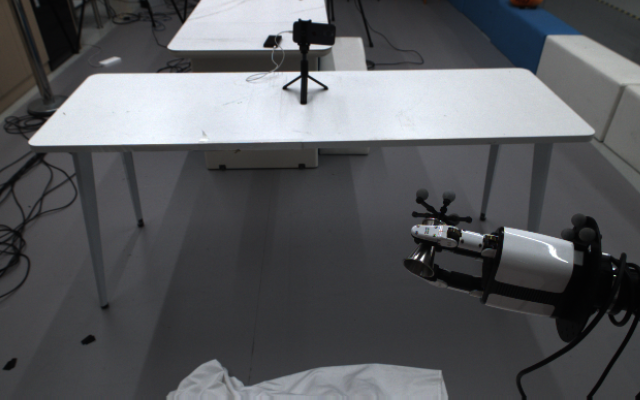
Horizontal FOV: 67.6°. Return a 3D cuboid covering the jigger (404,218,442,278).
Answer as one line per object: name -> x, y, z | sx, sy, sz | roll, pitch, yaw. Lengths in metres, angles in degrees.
jigger -> 0.142, 0.058, 0.642 | 0.043, 0.043, 0.071 | 19, 61, 23
